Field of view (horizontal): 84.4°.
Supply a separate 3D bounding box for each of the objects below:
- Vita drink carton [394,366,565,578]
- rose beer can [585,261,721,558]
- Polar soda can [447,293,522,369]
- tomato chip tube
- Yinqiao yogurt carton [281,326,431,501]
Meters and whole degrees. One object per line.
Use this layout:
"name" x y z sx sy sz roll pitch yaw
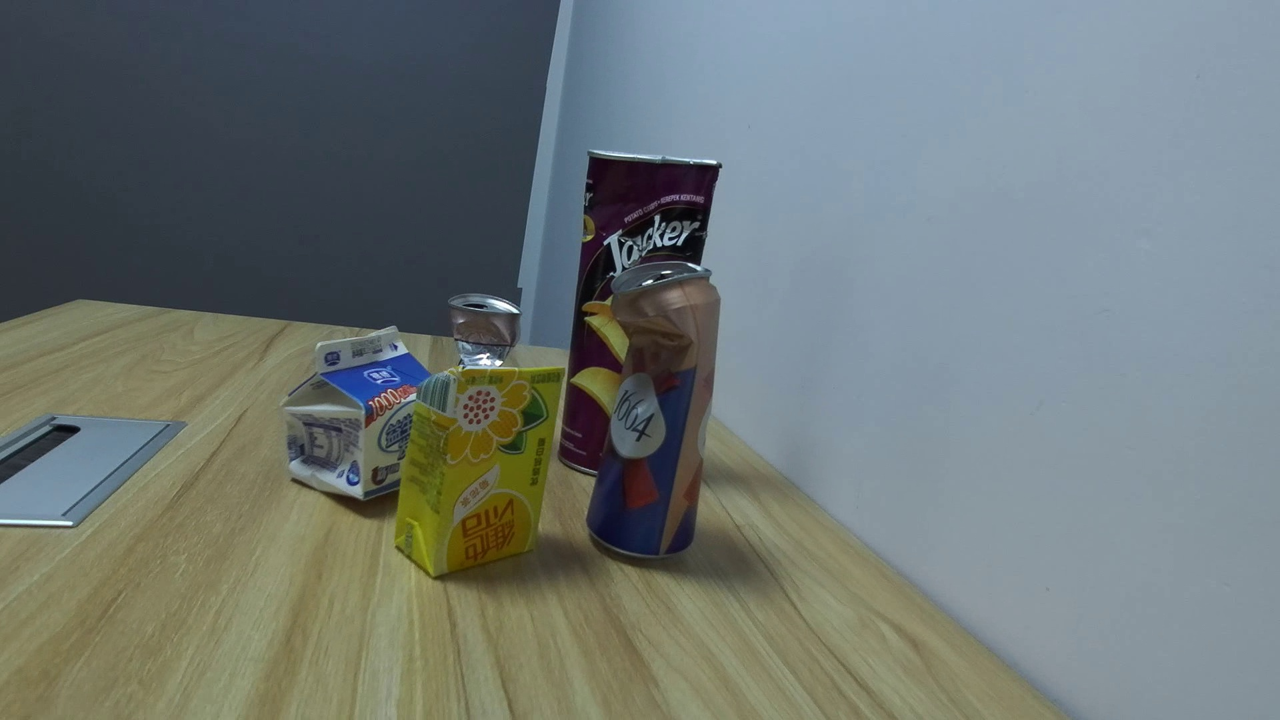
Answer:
"Vita drink carton" -0.085 0.050 0.373 0.046 0.109 0.072 22 16 41
"rose beer can" 0.010 0.030 0.407 0.069 0.168 0.070 12 16 22
"Polar soda can" -0.119 0.012 0.536 0.074 0.114 0.070 13 16 35
"tomato chip tube" -0.011 -0.034 0.528 0.078 0.235 0.090 5 14 -18
"Yinqiao yogurt carton" -0.174 0.030 0.437 0.080 0.097 0.075 4 9 22
